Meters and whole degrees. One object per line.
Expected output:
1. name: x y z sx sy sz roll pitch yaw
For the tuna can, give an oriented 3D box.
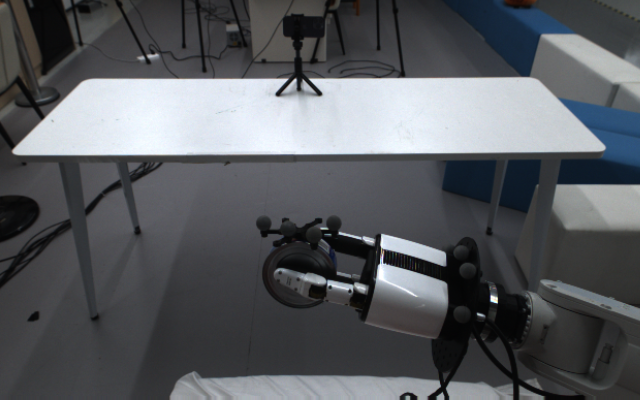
1. tuna can: -0.019 0.086 0.563 0.085 0.085 0.034 4 18 3
